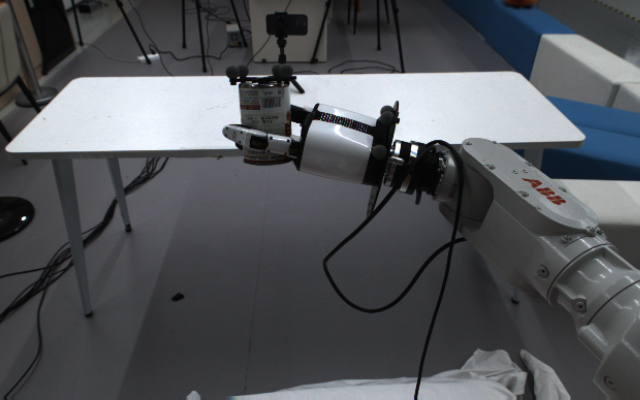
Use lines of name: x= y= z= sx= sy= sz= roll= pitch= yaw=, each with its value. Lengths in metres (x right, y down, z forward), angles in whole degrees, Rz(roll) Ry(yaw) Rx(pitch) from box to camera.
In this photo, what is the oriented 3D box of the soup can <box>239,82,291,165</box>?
soup can: x=-0.070 y=-0.101 z=0.635 sx=0.067 sy=0.101 sz=0.067 roll=-1 pitch=17 yaw=0
